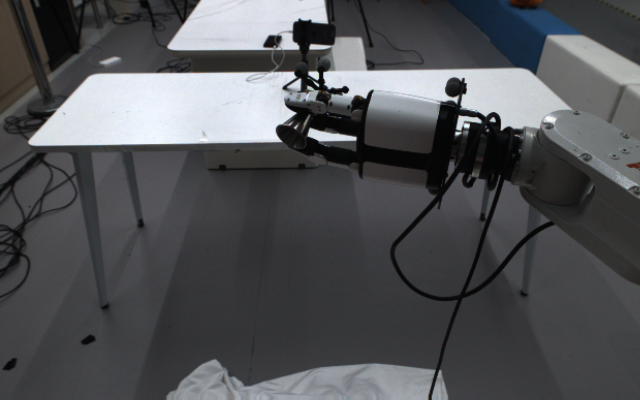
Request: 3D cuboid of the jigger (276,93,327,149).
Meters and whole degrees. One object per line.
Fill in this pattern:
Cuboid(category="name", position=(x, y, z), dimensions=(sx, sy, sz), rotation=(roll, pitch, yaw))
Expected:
Cuboid(category="jigger", position=(-0.022, -0.109, 0.622), dimensions=(0.043, 0.043, 0.071), rotation=(19, 61, 23))
